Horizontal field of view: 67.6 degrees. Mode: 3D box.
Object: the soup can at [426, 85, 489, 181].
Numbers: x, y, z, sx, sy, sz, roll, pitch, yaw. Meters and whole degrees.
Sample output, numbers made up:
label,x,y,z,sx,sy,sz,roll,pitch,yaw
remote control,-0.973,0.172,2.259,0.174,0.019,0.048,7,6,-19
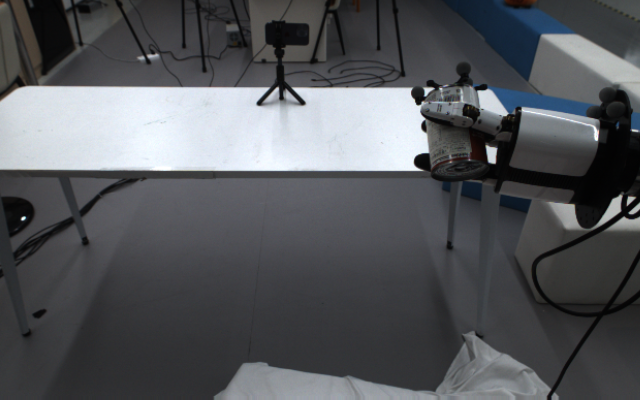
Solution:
label,x,y,z,sx,sy,sz,roll,pitch,yaw
soup can,0.165,-0.084,0.592,0.067,0.067,0.101,0,72,-4
